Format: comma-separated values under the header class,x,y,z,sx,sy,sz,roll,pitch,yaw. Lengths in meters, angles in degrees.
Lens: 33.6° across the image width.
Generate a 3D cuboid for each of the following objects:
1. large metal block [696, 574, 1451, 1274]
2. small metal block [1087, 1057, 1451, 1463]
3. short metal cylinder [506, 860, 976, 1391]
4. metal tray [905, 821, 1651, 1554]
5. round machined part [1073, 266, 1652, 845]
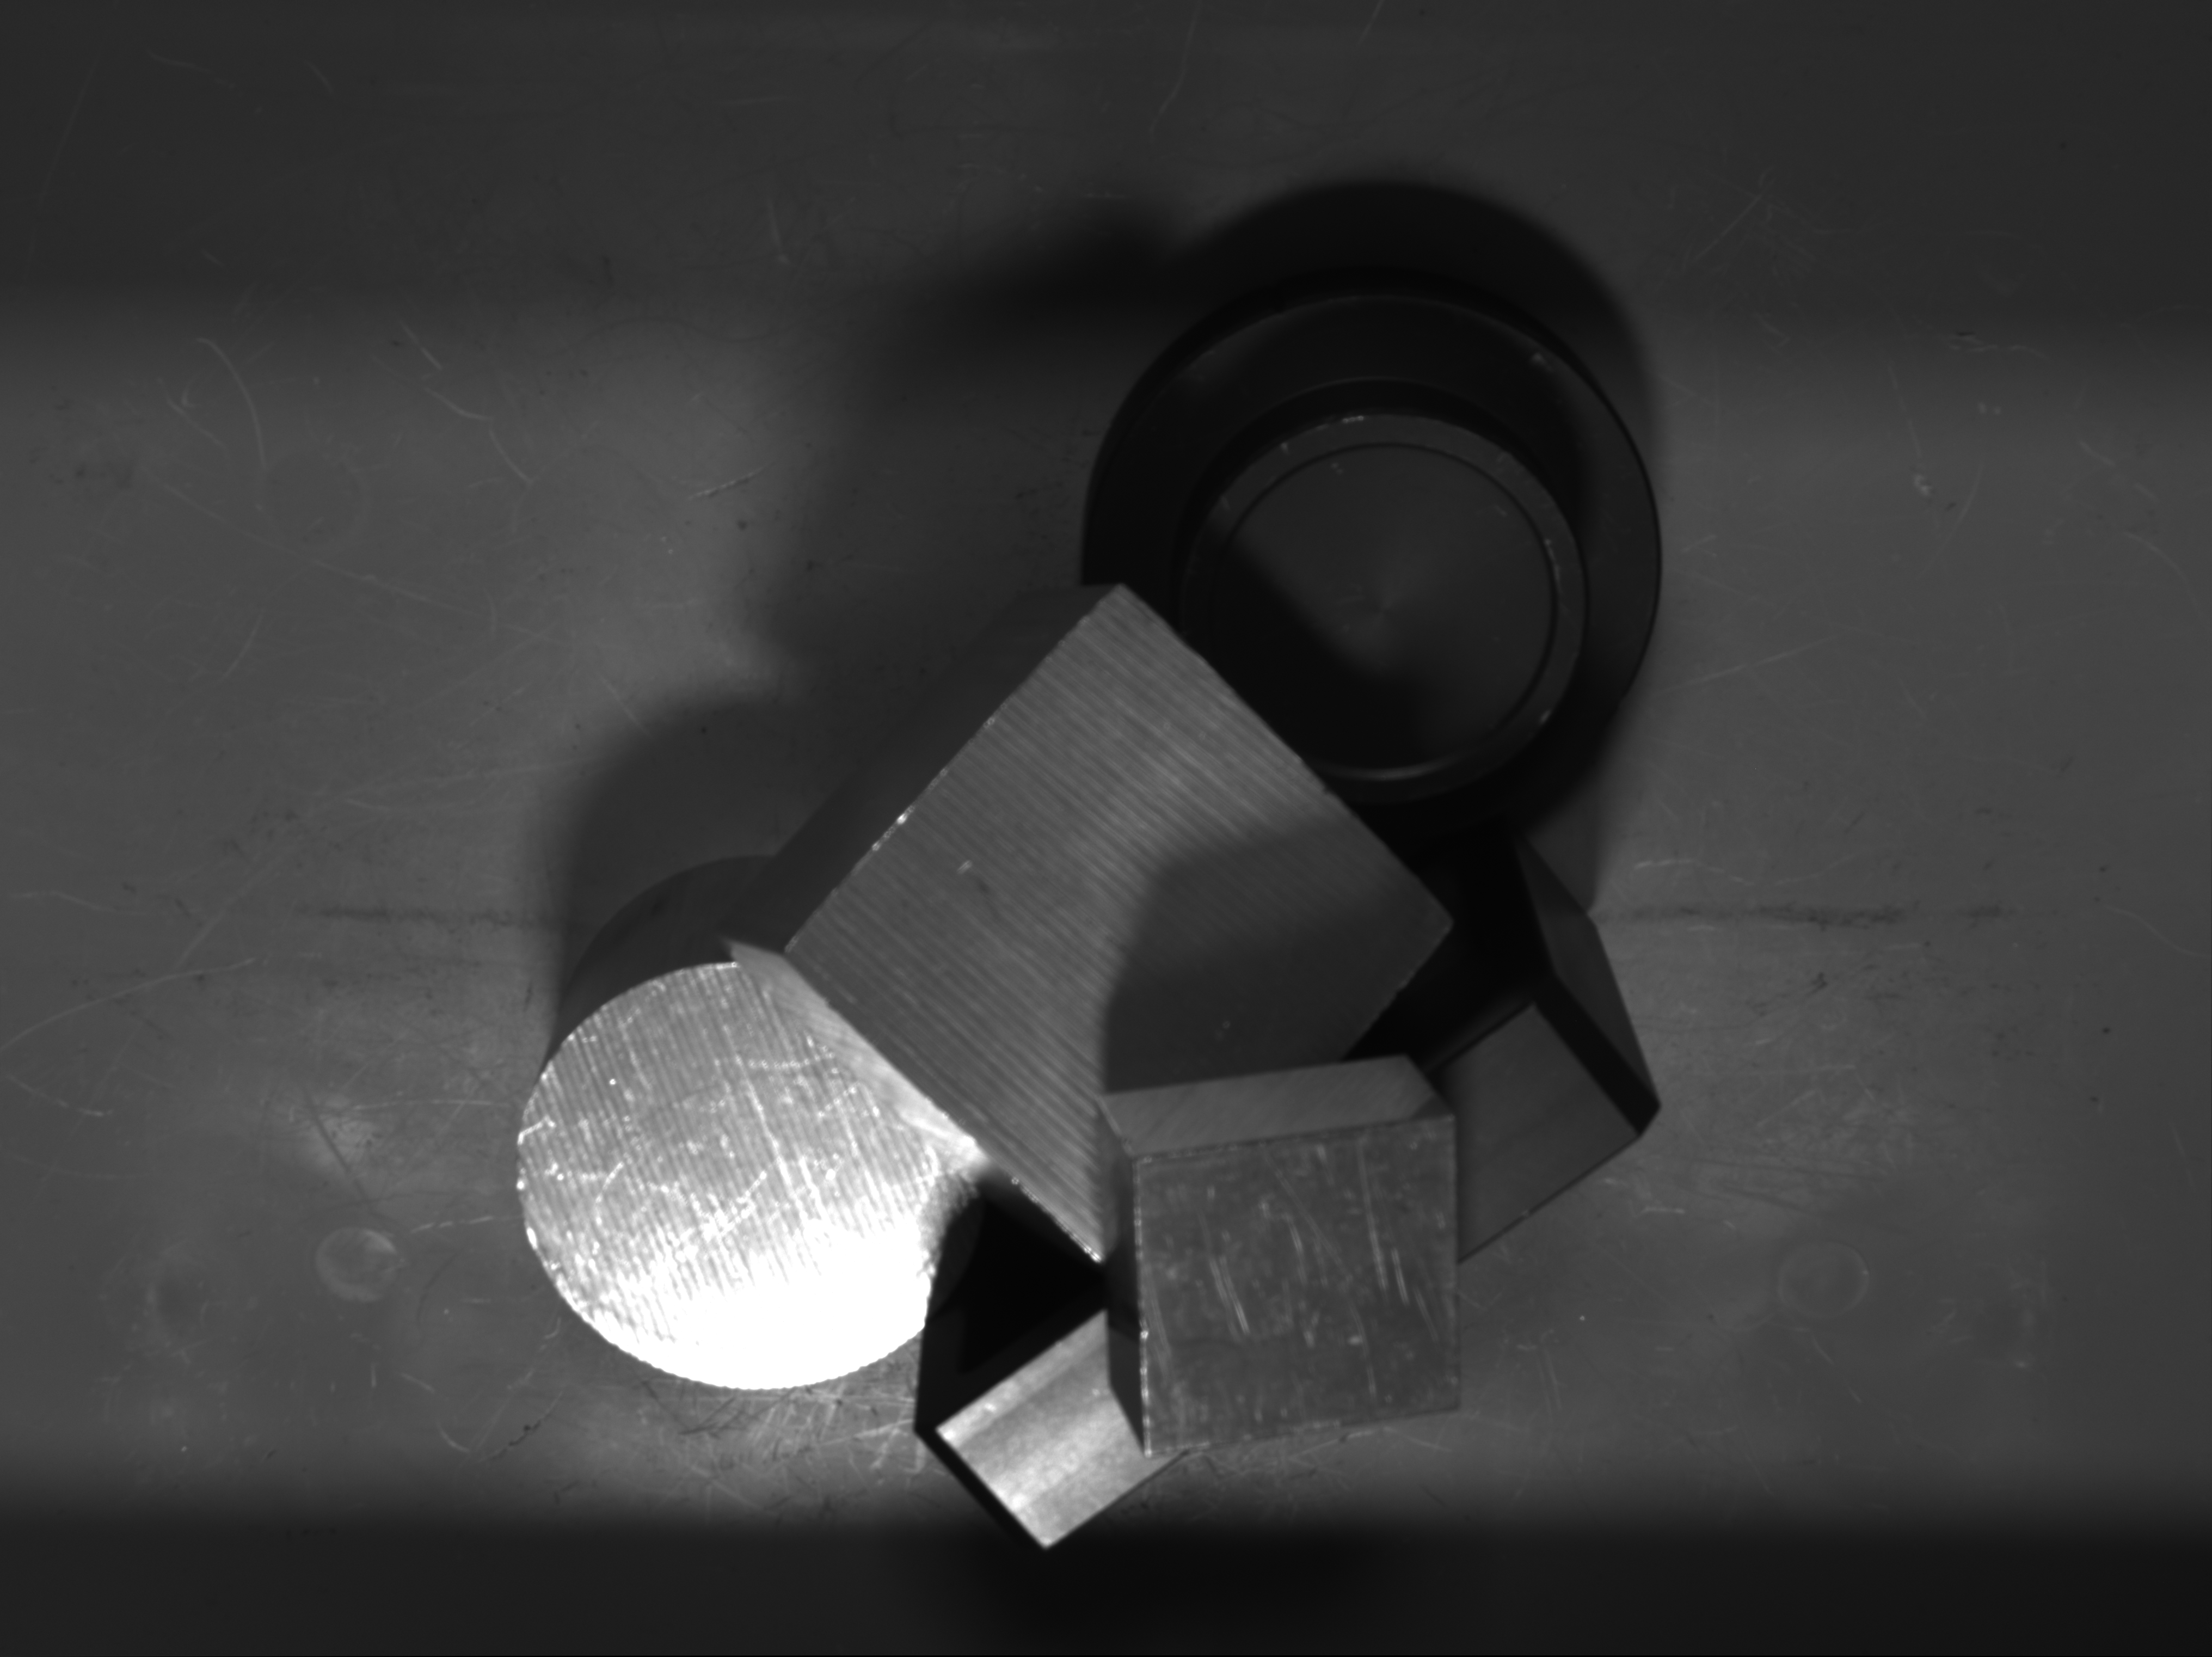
class,x,y,z,sx,sy,sz,roll,pitch,yaw
large metal block,-0.006,0.016,0.596,0.080,0.050,0.080,45,79,-15
small metal block,0.025,0.066,0.565,0.050,0.025,0.050,-7,110,-12
short metal cylinder,-0.062,0.052,0.646,0.080,0.050,0.080,0,110,-1
metal tray,0.027,0.059,0.628,0.130,0.090,0.030,-37,105,11
round machined part,0.043,-0.042,0.618,0.098,0.042,0.098,0,110,-1
